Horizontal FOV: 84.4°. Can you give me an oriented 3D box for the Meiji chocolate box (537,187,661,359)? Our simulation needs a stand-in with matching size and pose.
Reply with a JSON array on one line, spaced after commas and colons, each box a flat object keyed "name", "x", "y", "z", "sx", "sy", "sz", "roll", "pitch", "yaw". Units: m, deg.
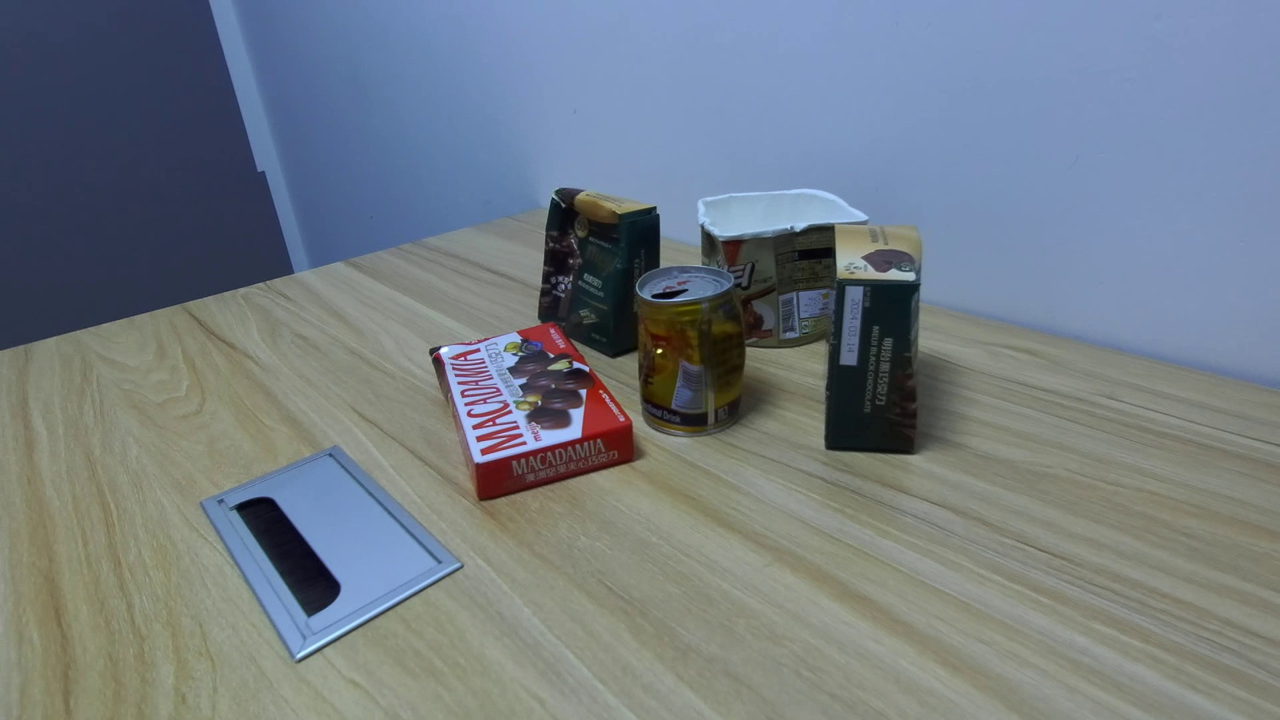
[{"name": "Meiji chocolate box", "x": -0.032, "y": -0.075, "z": 0.572, "sx": 0.052, "sy": 0.117, "sz": 0.116, "roll": -15, "pitch": 28, "yaw": -38}]

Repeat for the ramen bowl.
[{"name": "ramen bowl", "x": 0.101, "y": -0.081, "z": 0.579, "sx": 0.114, "sy": 0.098, "sz": 0.133, "roll": -13, "pitch": 28, "yaw": -15}]

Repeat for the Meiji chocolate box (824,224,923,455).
[{"name": "Meiji chocolate box", "x": 0.143, "y": -0.017, "z": 0.430, "sx": 0.058, "sy": 0.111, "sz": 0.113, "roll": 4, "pitch": 27, "yaw": 13}]

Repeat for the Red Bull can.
[{"name": "Red Bull can", "x": 0.030, "y": -0.007, "z": 0.445, "sx": 0.072, "sy": 0.092, "sz": 0.072, "roll": -3, "pitch": 28, "yaw": 2}]

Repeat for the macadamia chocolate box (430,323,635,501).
[{"name": "macadamia chocolate box", "x": -0.077, "y": 0.023, "z": 0.479, "sx": 0.106, "sy": 0.028, "sz": 0.182, "roll": -13, "pitch": 27, "yaw": -17}]
